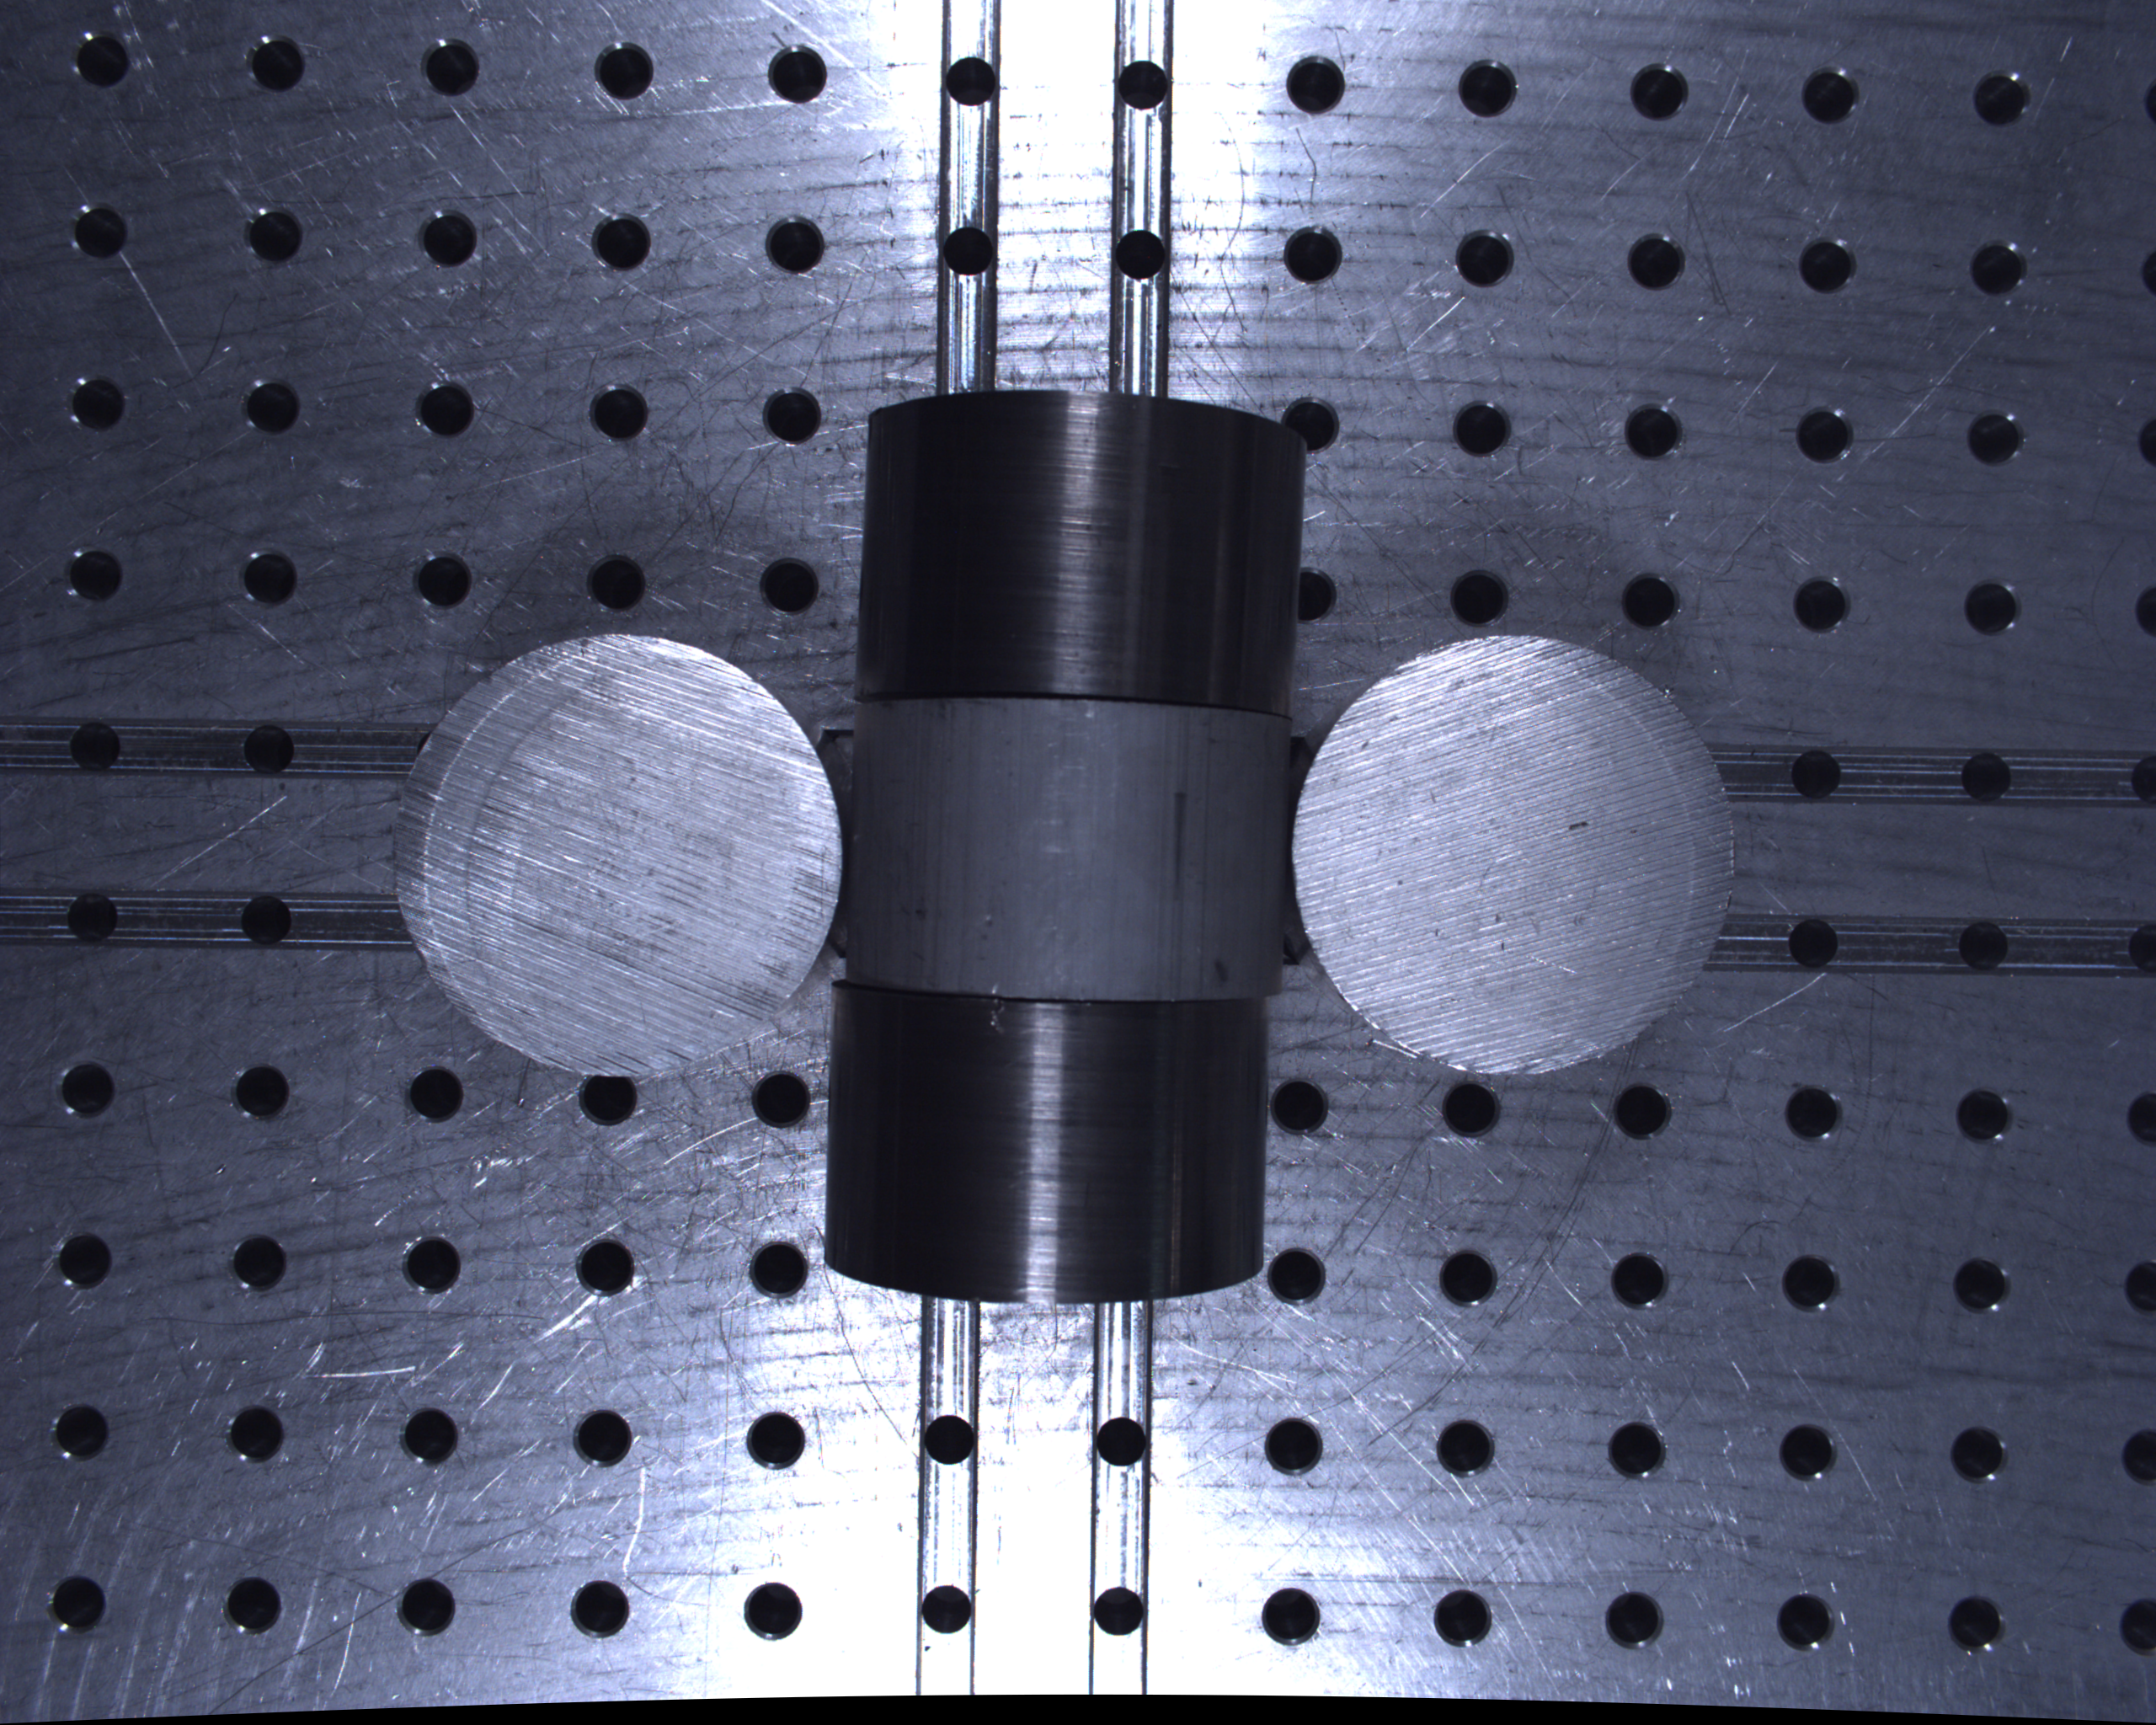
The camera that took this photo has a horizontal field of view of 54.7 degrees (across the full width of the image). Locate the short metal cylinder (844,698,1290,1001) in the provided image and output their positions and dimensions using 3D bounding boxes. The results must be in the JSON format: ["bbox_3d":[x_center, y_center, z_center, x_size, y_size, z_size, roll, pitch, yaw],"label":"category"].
[{"bbox_3d":[-0.002,-0.002,0.385,0.081,0.080,0.050,2,90,-1],"label":"short metal cylinder"}]

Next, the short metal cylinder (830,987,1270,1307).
[{"bbox_3d":[-0.005,0.049,0.385,0.081,0.080,0.050,1,90,-1],"label":"short metal cylinder"}]

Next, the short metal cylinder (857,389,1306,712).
[{"bbox_3d":[0.001,-0.054,0.385,0.081,0.080,0.050,3,90,-1],"label":"short metal cylinder"}]

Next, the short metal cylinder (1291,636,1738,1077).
[{"bbox_3d":[0.079,-0.001,0.401,0.081,0.050,0.079,0,90,-1],"label":"short metal cylinder"}]

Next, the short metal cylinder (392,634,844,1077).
[{"bbox_3d":[-0.083,-0.001,0.399,0.081,0.050,0.079,0,90,-1],"label":"short metal cylinder"}]
